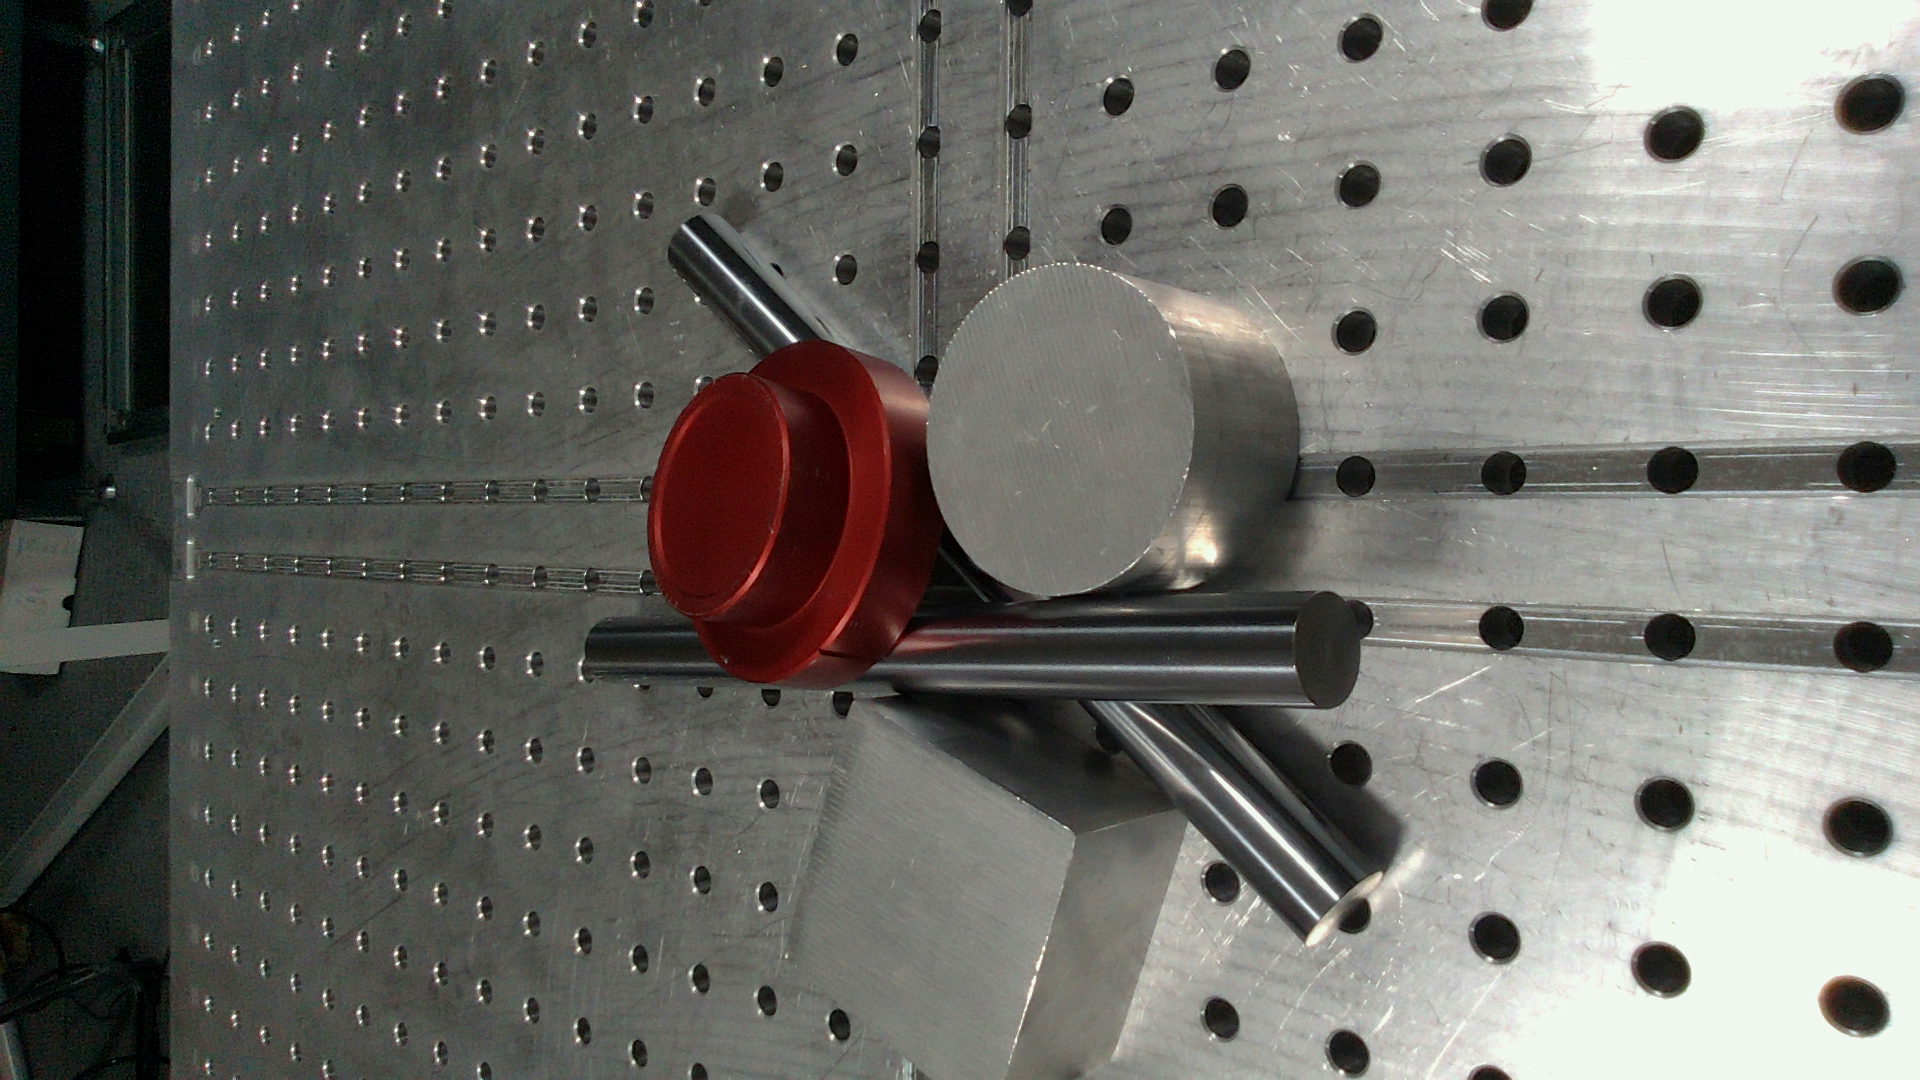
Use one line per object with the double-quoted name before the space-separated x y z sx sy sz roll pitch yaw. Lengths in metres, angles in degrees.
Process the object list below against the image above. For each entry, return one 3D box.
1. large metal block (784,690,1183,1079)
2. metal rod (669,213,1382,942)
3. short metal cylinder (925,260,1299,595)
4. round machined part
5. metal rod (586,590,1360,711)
"large metal block" 0.006 0.093 0.374 0.080 0.050 0.080 25 106 37
"metal rod" 0.001 -0.008 0.398 0.299 0.025 0.025 46 118 30
"short metal cylinder" 0.038 -0.027 0.349 0.080 0.050 0.080 0 90 40
"round machined part" -0.051 -0.009 0.386 0.098 0.042 0.098 -12 73 44
"metal rod" -0.025 0.031 0.395 0.299 0.025 0.025 -5 87 47
